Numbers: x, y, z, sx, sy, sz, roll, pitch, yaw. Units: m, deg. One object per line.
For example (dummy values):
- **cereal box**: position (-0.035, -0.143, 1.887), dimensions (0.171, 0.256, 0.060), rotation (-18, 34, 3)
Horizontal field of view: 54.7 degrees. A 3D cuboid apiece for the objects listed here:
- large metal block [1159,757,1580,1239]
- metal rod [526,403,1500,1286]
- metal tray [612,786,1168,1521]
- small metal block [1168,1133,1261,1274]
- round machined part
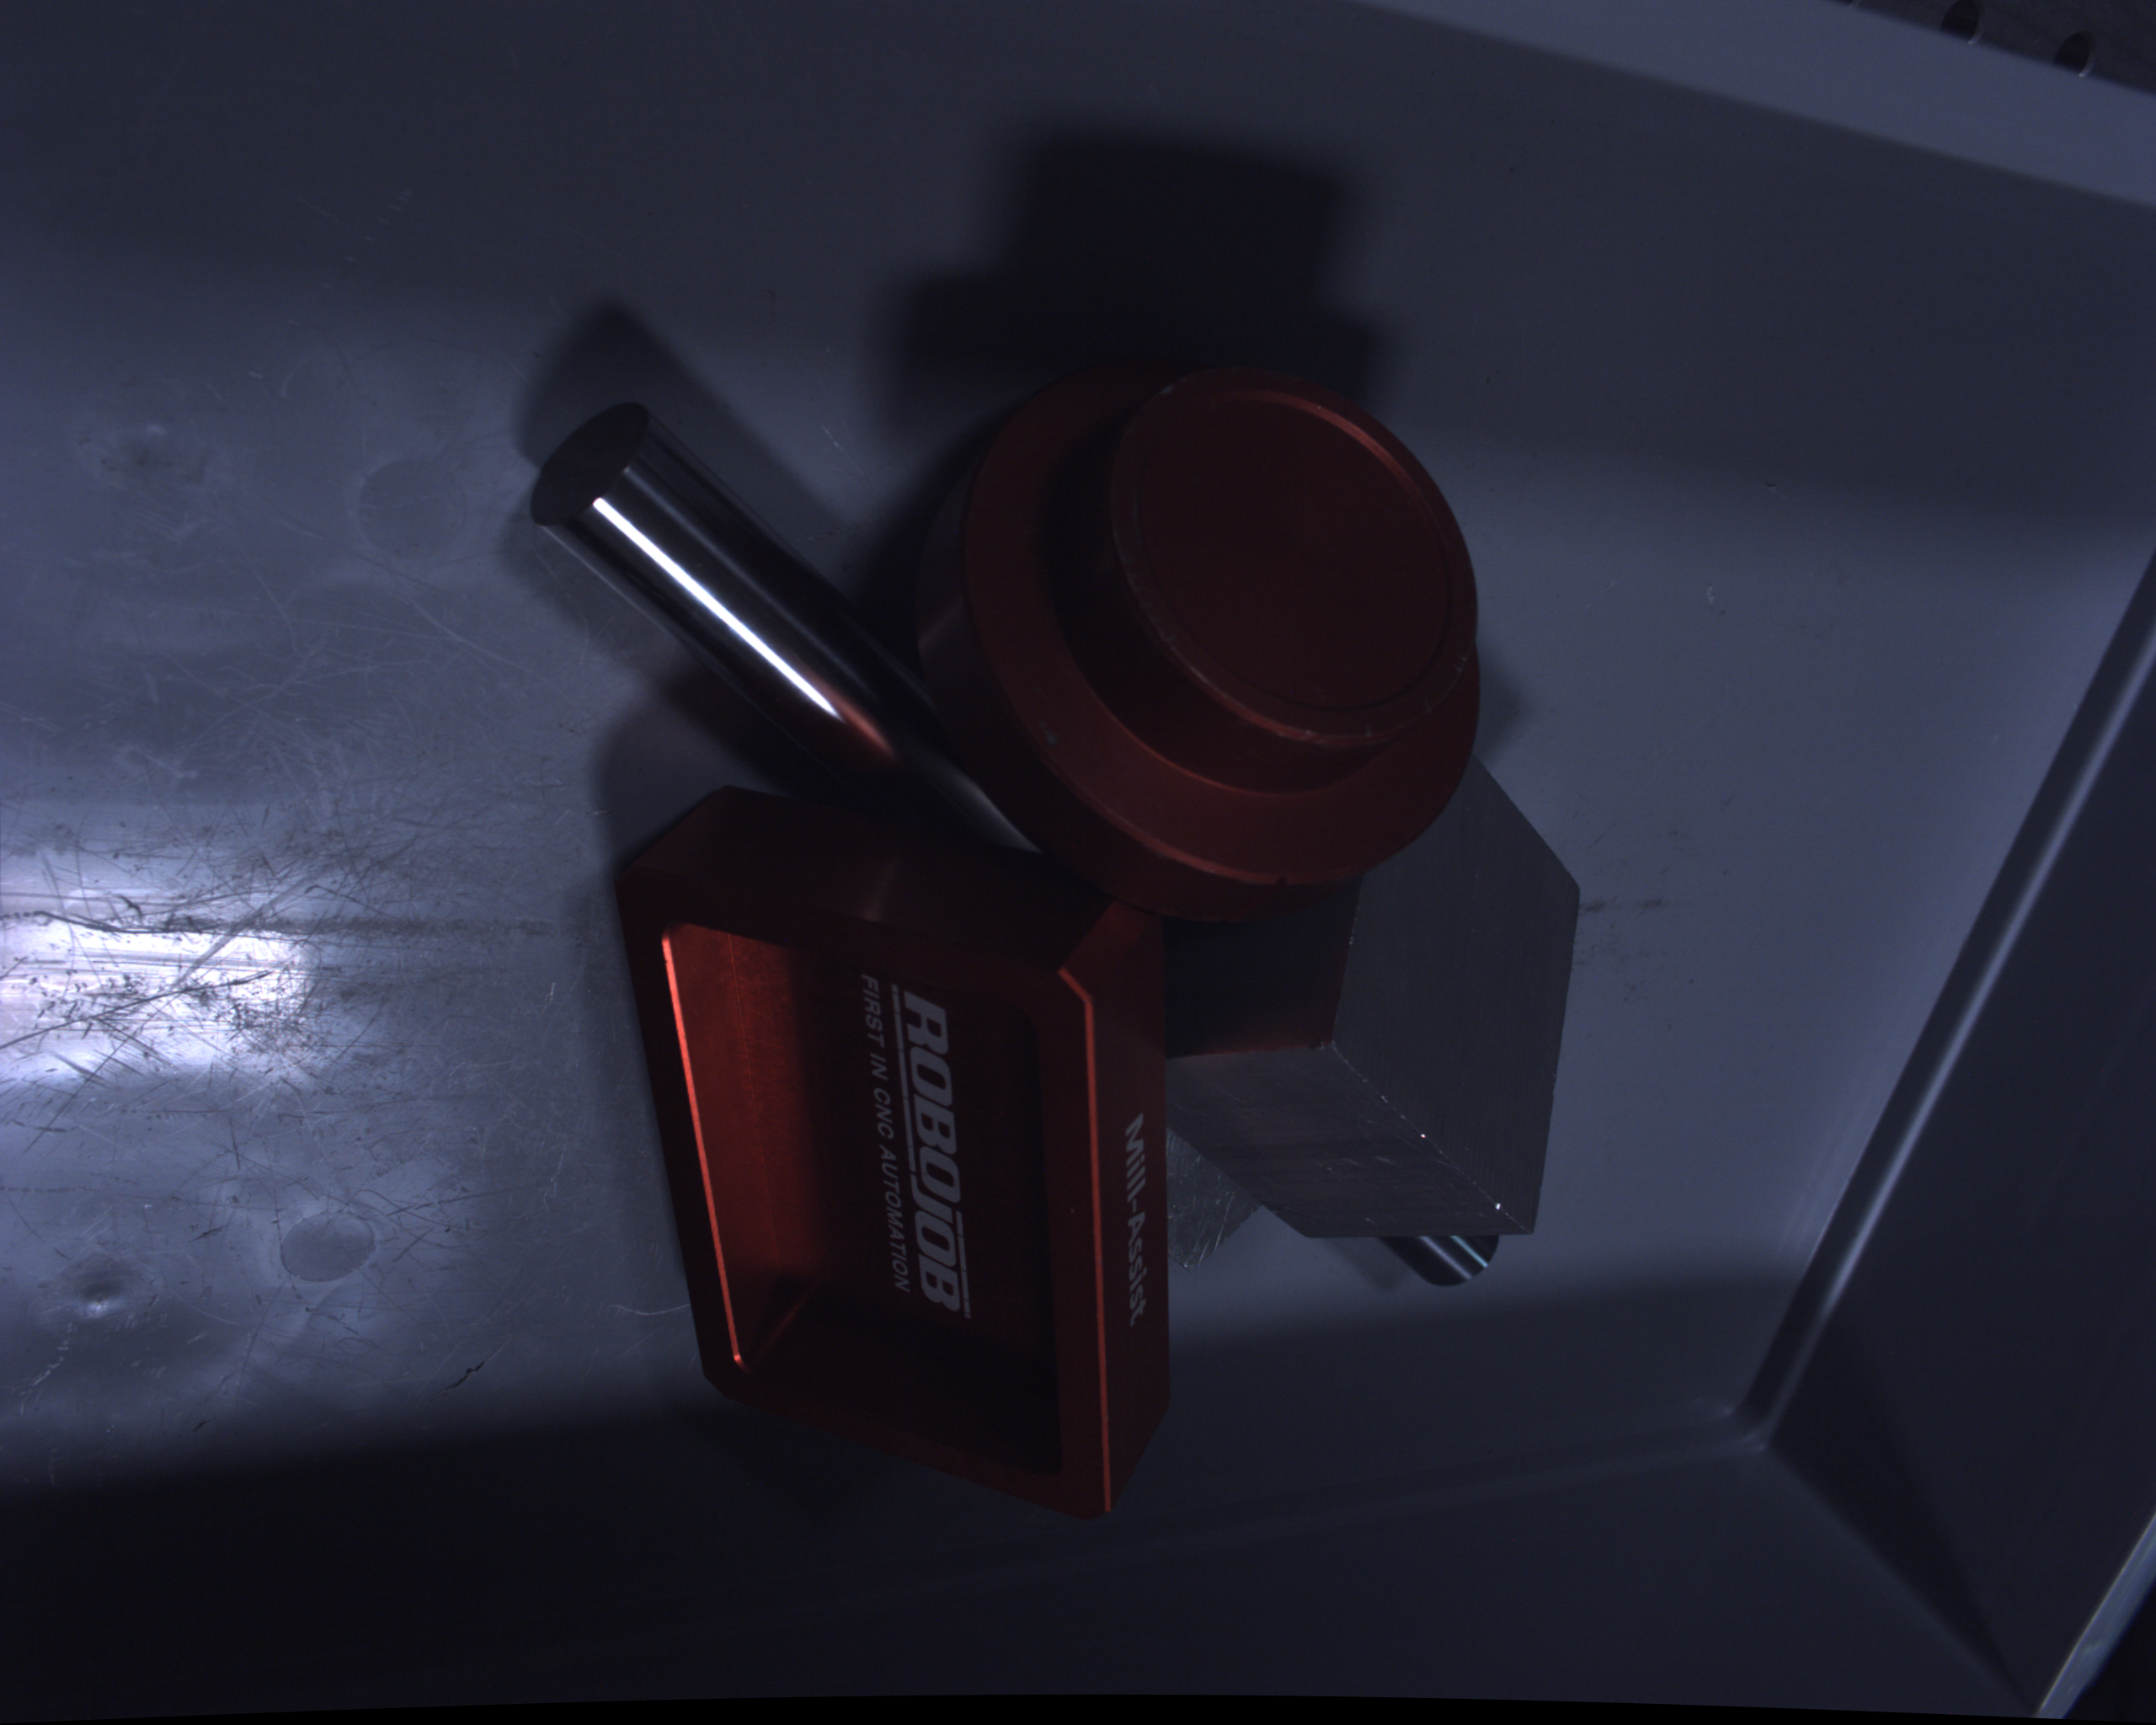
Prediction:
- **large metal block**: position (0.054, 0.020, 0.409), dimensions (0.080, 0.050, 0.080), rotation (43, 51, -39)
- **metal rod**: position (0.008, 0.016, 0.422), dimensions (0.025, 0.025, 0.300), rotation (-45, 130, 3)
- **metal tray**: position (-0.031, 0.056, 0.385), dimensions (0.030, 0.090, 0.129), rotation (-51, 146, -50)
- **small metal block**: position (0.008, 0.050, 0.427), dimensions (0.025, 0.050, 0.050), rotation (-44, 130, 2)
- **round machined part**: position (0.027, -0.042, 0.347), dimensions (0.099, 0.098, 0.042), rotation (-2, 160, -28)
